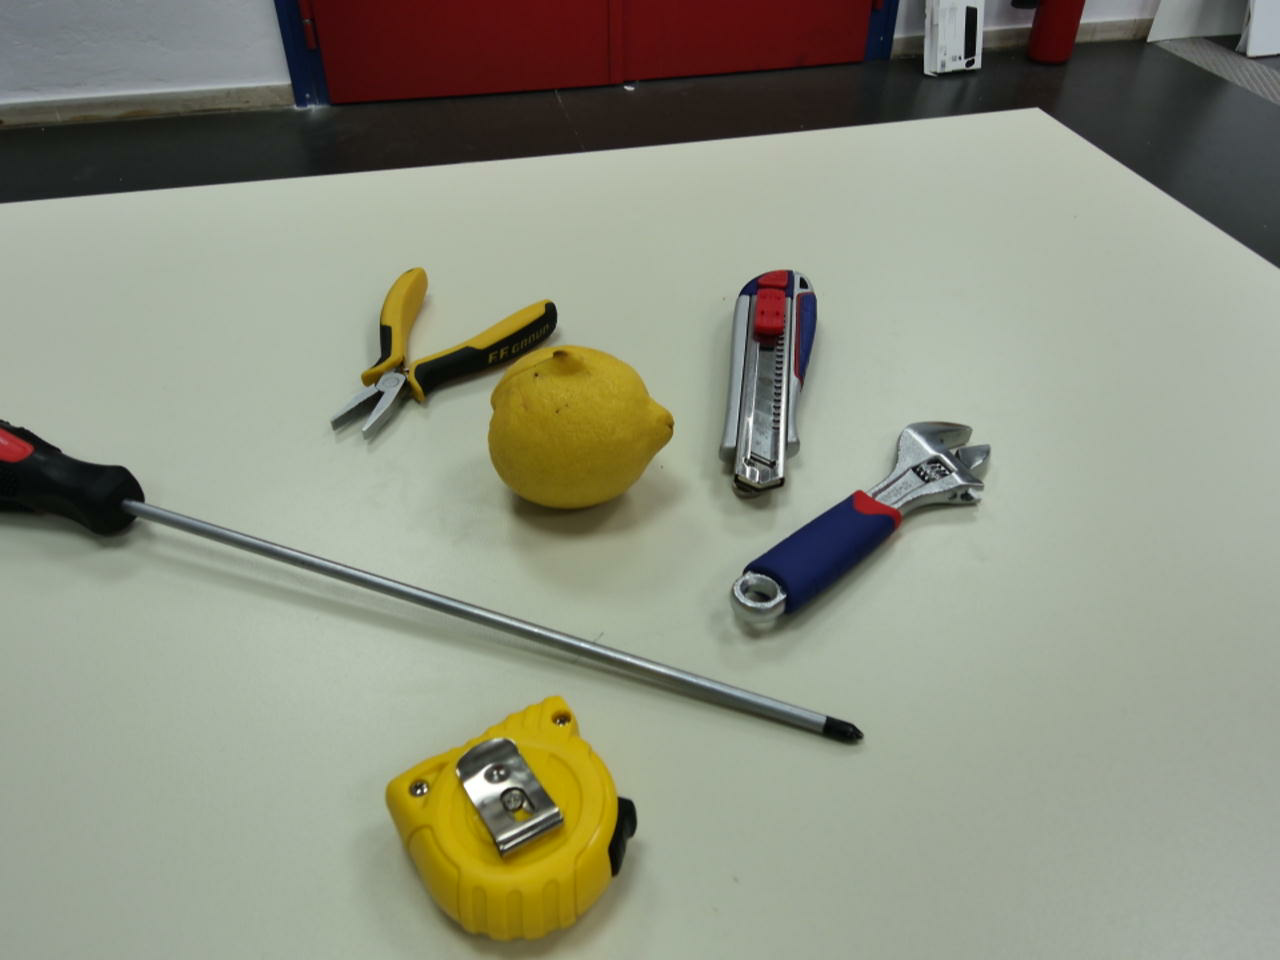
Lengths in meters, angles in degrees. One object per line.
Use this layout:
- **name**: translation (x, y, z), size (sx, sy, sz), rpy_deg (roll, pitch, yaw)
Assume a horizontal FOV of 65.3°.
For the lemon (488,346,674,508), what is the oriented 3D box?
- **lemon**: translation (-0.029, -0.025, 0.415), size (0.071, 0.071, 0.070), rpy_deg (31, 47, 32)
